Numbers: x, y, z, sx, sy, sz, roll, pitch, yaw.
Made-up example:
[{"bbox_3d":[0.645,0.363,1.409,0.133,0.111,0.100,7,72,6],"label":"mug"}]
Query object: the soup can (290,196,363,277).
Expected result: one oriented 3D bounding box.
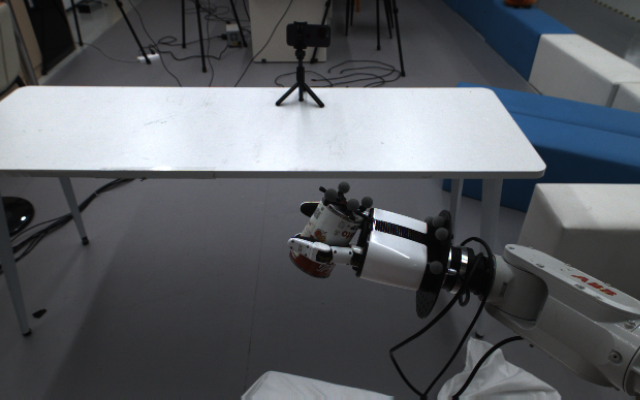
[{"bbox_3d":[0.010,0.052,0.691,0.067,0.101,0.067,27,18,-10],"label":"soup can"}]
